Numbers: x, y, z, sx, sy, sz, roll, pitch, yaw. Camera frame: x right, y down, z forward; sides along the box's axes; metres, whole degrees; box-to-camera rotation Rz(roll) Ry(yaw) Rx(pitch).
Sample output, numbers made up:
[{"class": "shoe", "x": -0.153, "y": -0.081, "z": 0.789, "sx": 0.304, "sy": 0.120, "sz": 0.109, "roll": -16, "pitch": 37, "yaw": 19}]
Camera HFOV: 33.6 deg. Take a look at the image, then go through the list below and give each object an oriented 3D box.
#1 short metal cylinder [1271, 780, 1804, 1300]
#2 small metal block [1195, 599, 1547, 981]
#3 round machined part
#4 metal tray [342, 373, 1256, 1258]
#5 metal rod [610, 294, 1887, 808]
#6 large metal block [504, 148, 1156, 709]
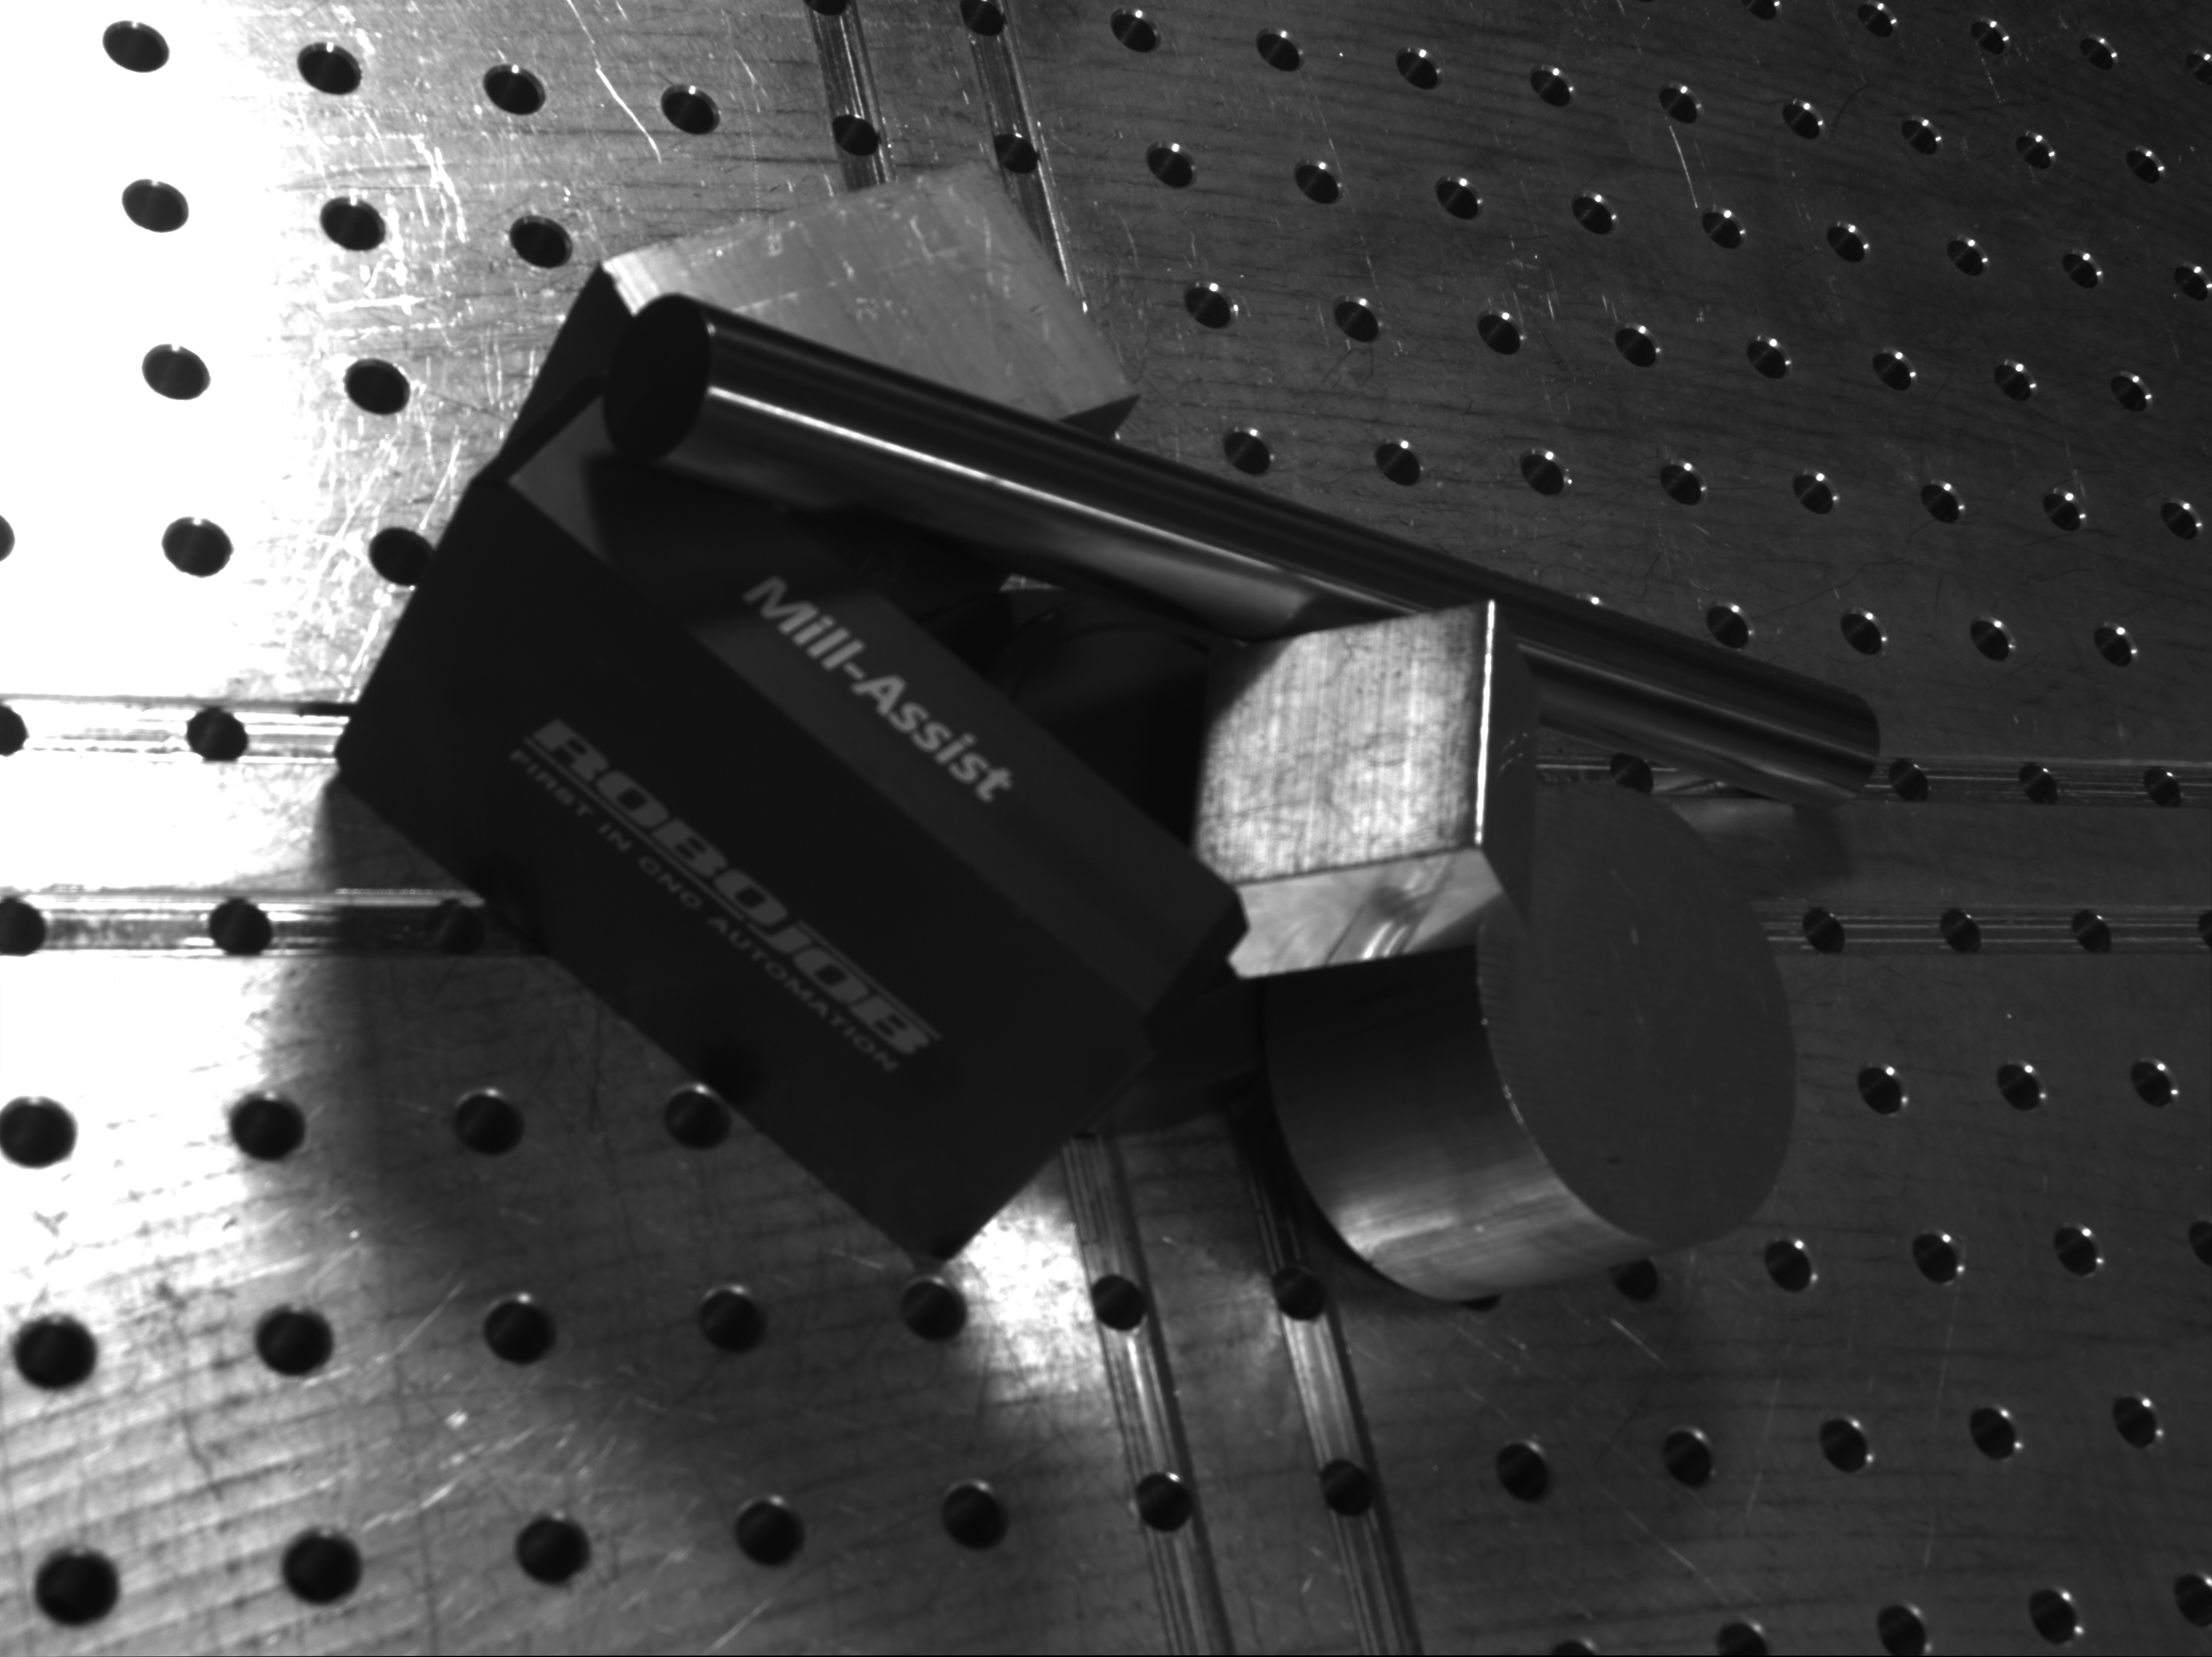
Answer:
[{"class": "short metal cylinder", "x": 0.075, "y": 0.037, "z": 0.629, "sx": 0.080, "sy": 0.050, "sz": 0.080, "roll": 17, "pitch": 64, "yaw": -38}, {"class": "small metal block", "x": 0.043, "y": -0.006, "z": 0.598, "sx": 0.025, "sy": 0.050, "sz": 0.050, "roll": 56, "pitch": 32, "yaw": -46}, {"class": "round machined part", "x": 0.001, "y": 0.001, "z": 0.635, "sx": 0.098, "sy": 0.042, "sz": 0.098, "roll": 14, "pitch": 56, "yaw": -21}, {"class": "metal tray", "x": -0.051, "y": 0.001, "z": 0.573, "sx": 0.130, "sy": 0.090, "sz": 0.030, "roll": 40, "pitch": 51, "yaw": -1}, {"class": "metal rod", "x": 0.041, "y": -0.040, "z": 0.628, "sx": 0.301, "sy": 0.025, "sz": 0.025, "roll": 13, "pitch": 54, "yaw": -45}, {"class": "large metal block", "x": -0.051, "y": -0.062, "z": 0.616, "sx": 0.080, "sy": 0.080, "sz": 0.050, "roll": -23, "pitch": 74, "yaw": -36}]
